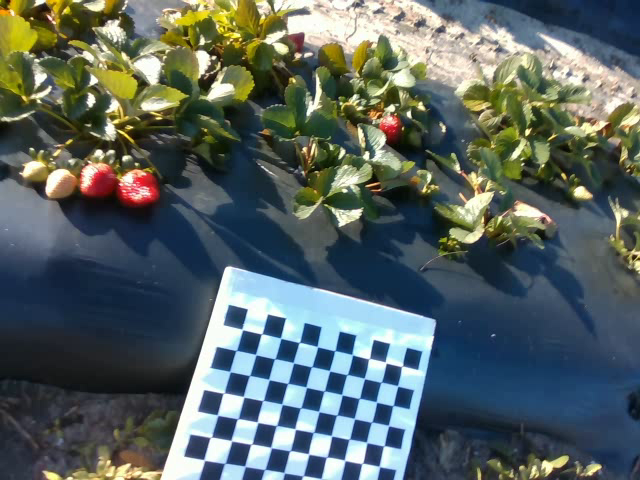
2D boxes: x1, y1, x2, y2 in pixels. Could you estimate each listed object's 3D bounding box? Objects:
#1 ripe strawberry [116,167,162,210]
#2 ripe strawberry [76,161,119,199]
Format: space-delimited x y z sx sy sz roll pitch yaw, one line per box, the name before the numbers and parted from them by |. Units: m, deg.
ripe strawberry | -0.215 -0.058 0.725 0.056 0.052 0.067 -38 45 -18
ripe strawberry | -0.267 -0.069 0.714 0.043 0.050 0.061 -42 17 28
